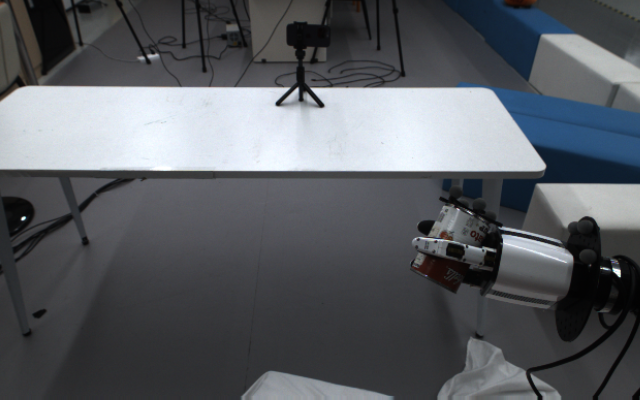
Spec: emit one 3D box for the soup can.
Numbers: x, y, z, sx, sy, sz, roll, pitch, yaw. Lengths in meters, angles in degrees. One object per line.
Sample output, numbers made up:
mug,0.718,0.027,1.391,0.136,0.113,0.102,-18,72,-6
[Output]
soup can,0.174,0.063,0.642,0.067,0.101,0.067,28,-3,1
